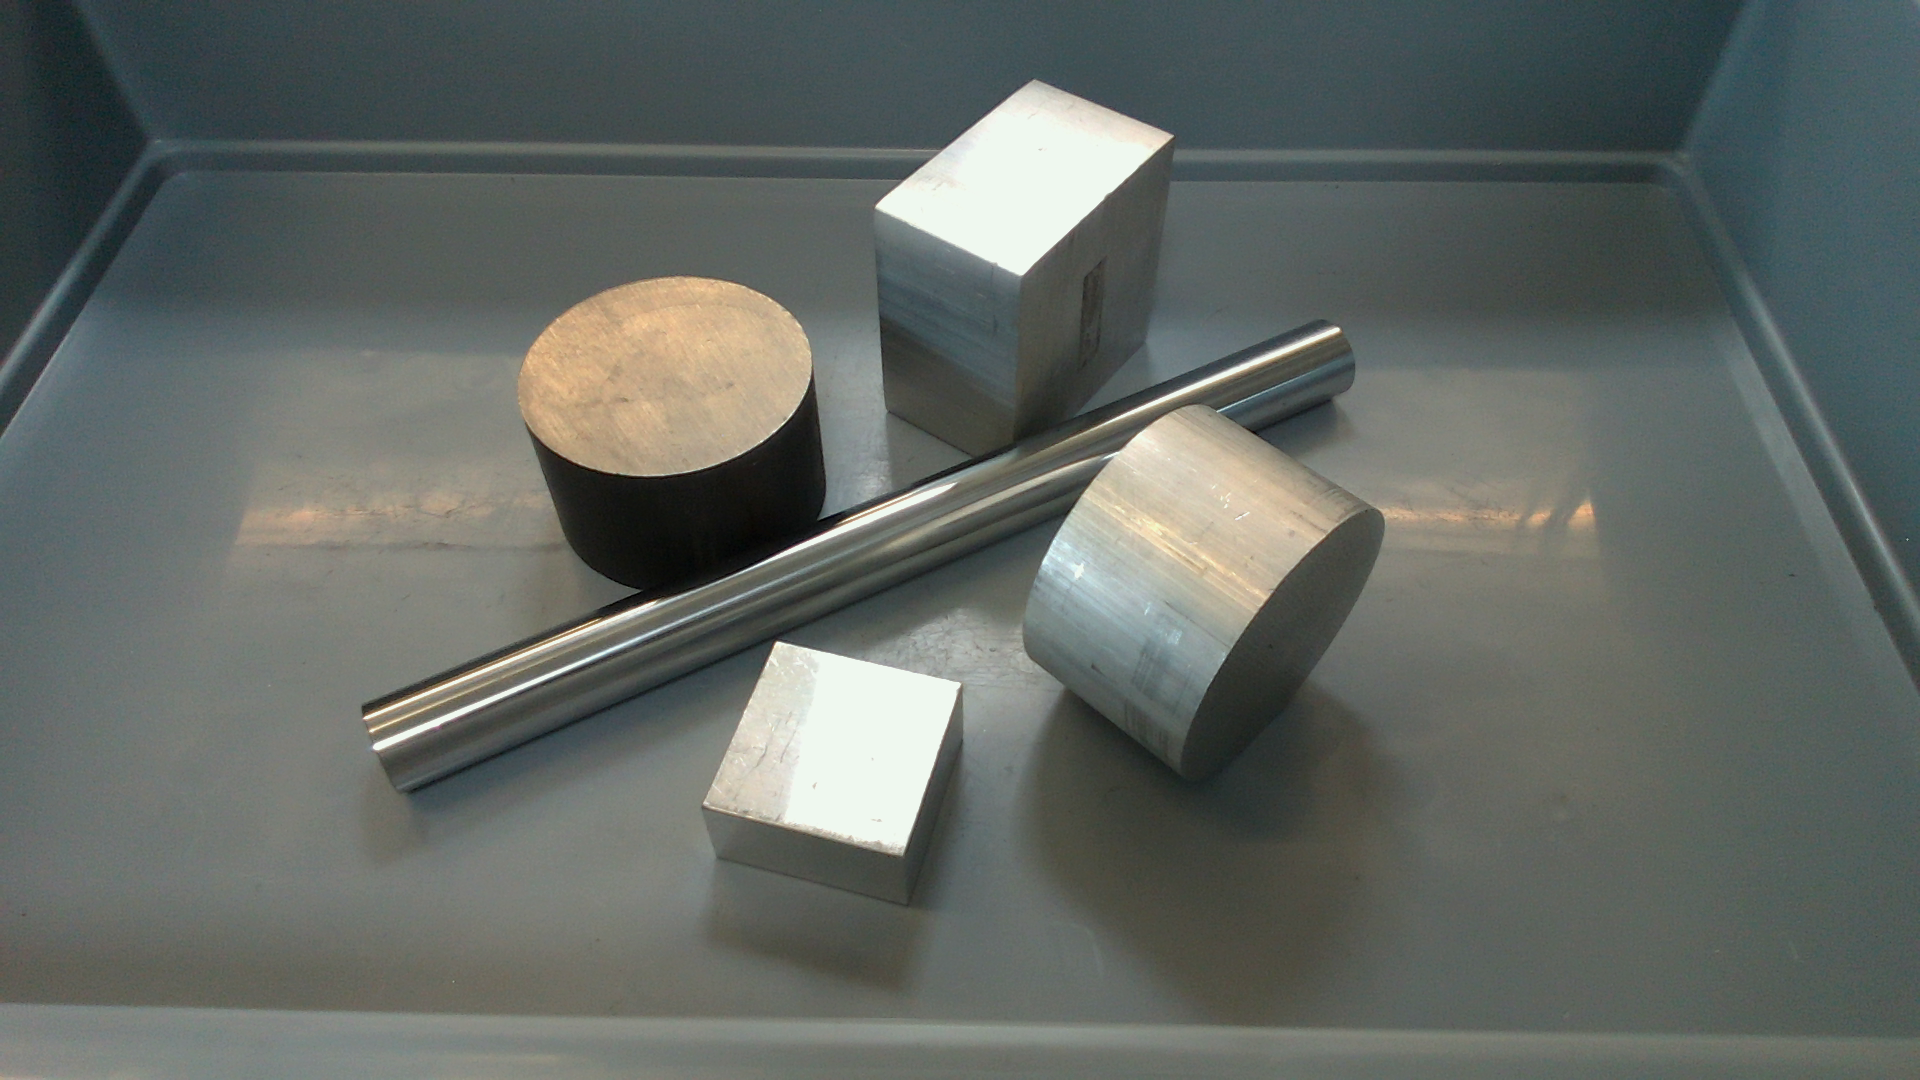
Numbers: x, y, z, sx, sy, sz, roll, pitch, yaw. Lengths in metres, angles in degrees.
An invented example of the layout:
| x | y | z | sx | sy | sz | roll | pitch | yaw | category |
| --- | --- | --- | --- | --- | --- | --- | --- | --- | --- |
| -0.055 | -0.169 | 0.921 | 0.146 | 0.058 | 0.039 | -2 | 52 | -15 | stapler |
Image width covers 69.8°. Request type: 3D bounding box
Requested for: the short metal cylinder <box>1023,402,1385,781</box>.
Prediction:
| x | y | z | sx | sy | sz | roll | pitch | yaw | category |
| --- | --- | --- | --- | --- | --- | --- | --- | --- | --- |
| 0.061 | 0.012 | 0.344 | 0.050 | 0.080 | 0.080 | 36 | 59 | 26 | short metal cylinder |

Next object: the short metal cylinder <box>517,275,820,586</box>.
| x | y | z | sx | sy | sz | roll | pitch | yaw | category |
| --- | --- | --- | --- | --- | --- | --- | --- | --- | --- |
| -0.082 | -0.032 | 0.400 | 0.080 | 0.050 | 0.080 | 0 | 50 | 0 | short metal cylinder |

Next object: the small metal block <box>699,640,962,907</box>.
| x | y | z | sx | sy | sz | roll | pitch | yaw | category |
| --- | --- | --- | --- | --- | --- | --- | --- | --- | --- |
| -0.030 | 0.057 | 0.342 | 0.050 | 0.025 | 0.050 | 12 | 51 | 10 | small metal block |

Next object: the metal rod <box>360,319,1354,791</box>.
| x | y | z | sx | sy | sz | roll | pitch | yaw | category |
| --- | --- | --- | --- | --- | --- | --- | --- | --- | --- |
| -0.014 | -0.003 | 0.393 | 0.301 | 0.025 | 0.025 | -23 | 53 | -18 | metal rod |

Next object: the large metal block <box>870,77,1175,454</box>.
| x | y | z | sx | sy | sz | roll | pitch | yaw | category |
| --- | --- | --- | --- | --- | --- | --- | --- | --- | --- |
| 0.019 | -0.080 | 0.422 | 0.050 | 0.080 | 0.080 | 29 | 56 | 23 | large metal block |
